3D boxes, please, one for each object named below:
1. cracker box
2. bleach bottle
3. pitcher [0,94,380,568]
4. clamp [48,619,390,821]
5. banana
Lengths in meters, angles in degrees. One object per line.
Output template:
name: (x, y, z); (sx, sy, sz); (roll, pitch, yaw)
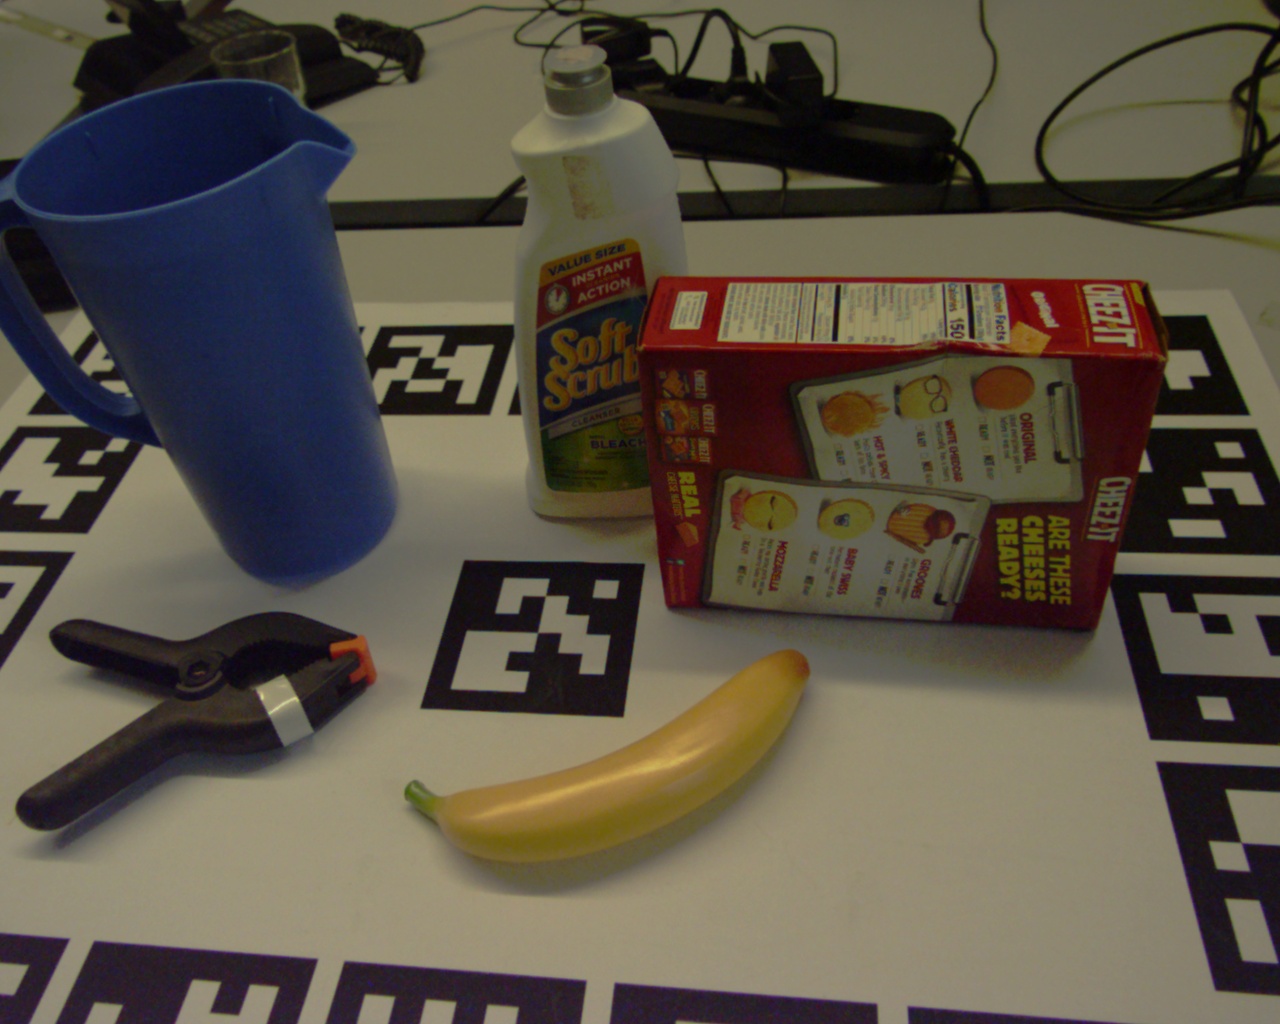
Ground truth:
cracker box: (0.114, -0.031, 0.572); (0.215, 0.163, 0.072); (0, 39, 10)
bleach bottle: (-0.036, -0.101, 0.631); (0.103, 0.249, 0.068); (-1, 41, 8)
pitcher: (-0.227, -0.086, 0.616); (0.188, 0.241, 0.134); (-11, 41, -8)
clamp: (-0.216, 0.095, 0.599); (0.165, 0.036, 0.123); (-11, 40, -6)
banana: (0.001, 0.115, 0.555); (0.196, 0.038, 0.075); (-24, 44, -17)
